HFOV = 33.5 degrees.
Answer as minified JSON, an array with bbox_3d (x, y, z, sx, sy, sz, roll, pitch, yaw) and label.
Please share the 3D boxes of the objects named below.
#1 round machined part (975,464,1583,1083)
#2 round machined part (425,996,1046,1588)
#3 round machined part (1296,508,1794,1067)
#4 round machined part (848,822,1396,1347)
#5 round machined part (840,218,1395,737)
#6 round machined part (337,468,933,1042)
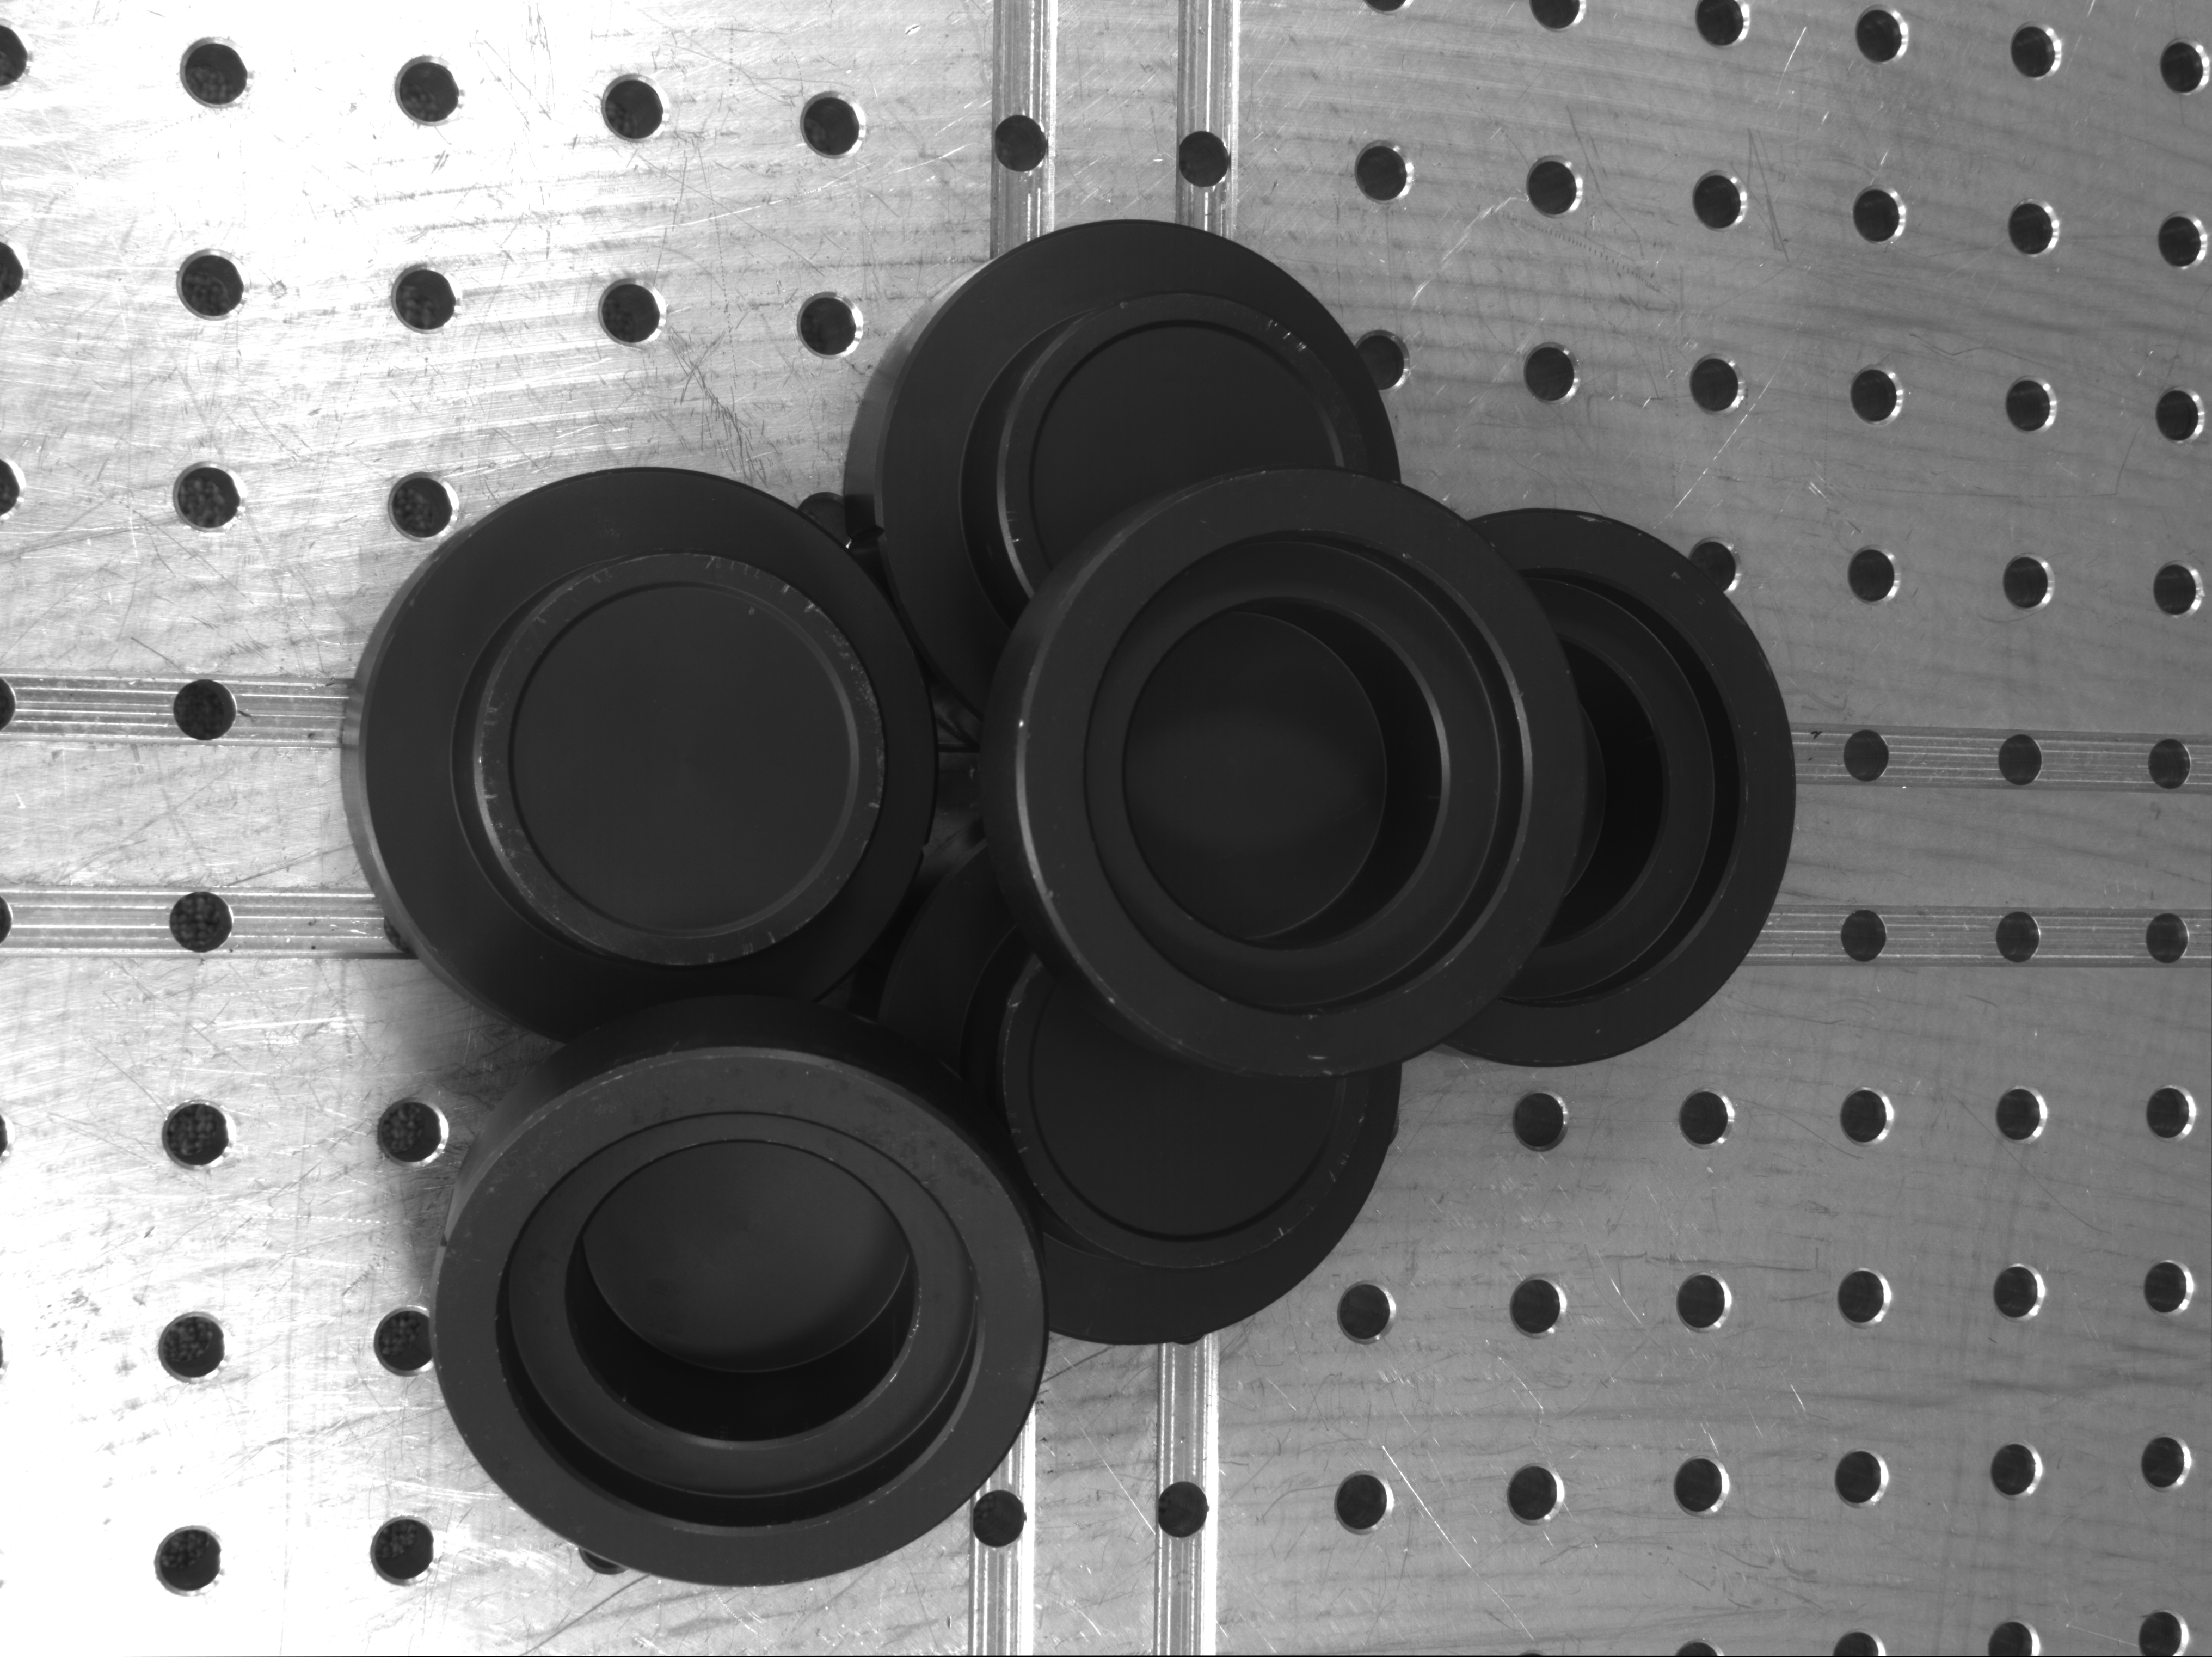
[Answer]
[{"bbox_3d":[0.025,-0.009,0.600,0.098,0.042,0.098,0,90,-20],"label":"round machined part"},{"bbox_3d":[-0.060,0.071,0.601,0.098,0.042,0.098,-2,112,-4],"label":"round machined part"},{"bbox_3d":[0.071,-0.007,0.662,0.098,0.042,0.098,0,90,-20],"label":"round machined part"},{"bbox_3d":[0.006,0.041,0.639,0.098,0.042,0.098,0,90,-20],"label":"round machined part"},{"bbox_3d":[0.006,-0.057,0.639,0.098,0.042,0.098,0,90,-20],"label":"round machined part"},{"bbox_3d":[-0.075,-0.011,0.610,0.098,0.042,0.098,0,90,-20],"label":"round machined part"}]
